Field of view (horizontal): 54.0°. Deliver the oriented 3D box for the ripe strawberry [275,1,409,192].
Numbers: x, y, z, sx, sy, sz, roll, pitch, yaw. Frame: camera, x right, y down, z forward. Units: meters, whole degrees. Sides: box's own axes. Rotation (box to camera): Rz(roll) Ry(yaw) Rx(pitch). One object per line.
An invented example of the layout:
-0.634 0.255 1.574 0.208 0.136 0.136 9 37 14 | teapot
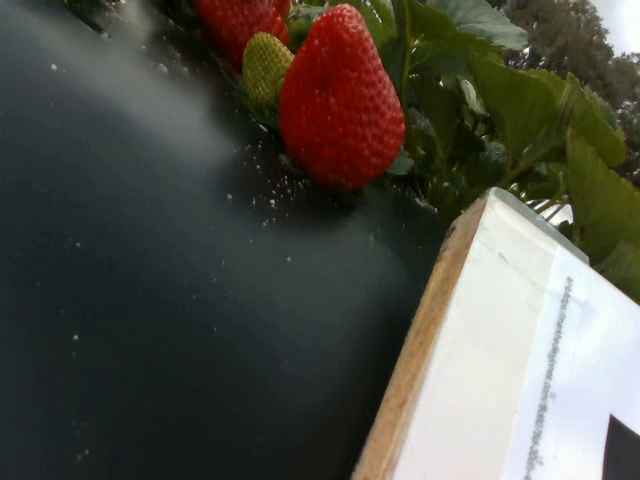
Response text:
0.010 -0.053 0.212 0.057 0.056 0.065 -8 -21 -11 | ripe strawberry
